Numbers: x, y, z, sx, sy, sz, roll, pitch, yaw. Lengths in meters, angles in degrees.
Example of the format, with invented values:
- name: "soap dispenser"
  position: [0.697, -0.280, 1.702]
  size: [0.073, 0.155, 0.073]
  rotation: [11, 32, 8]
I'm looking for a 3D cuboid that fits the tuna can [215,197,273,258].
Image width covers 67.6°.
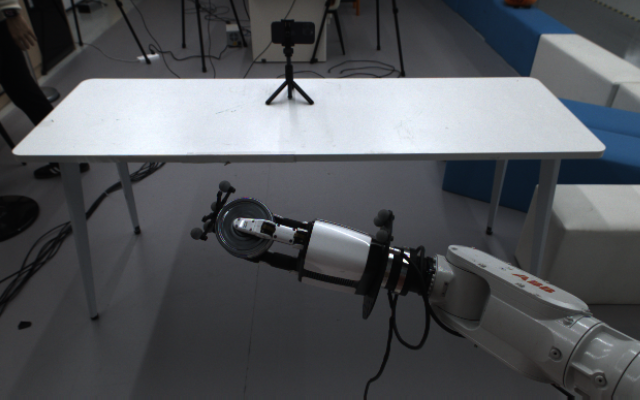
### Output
- name: "tuna can"
  position: [-0.105, 0.039, 0.697]
  size: [0.085, 0.034, 0.085]
  rotation: [0, 75, -2]
